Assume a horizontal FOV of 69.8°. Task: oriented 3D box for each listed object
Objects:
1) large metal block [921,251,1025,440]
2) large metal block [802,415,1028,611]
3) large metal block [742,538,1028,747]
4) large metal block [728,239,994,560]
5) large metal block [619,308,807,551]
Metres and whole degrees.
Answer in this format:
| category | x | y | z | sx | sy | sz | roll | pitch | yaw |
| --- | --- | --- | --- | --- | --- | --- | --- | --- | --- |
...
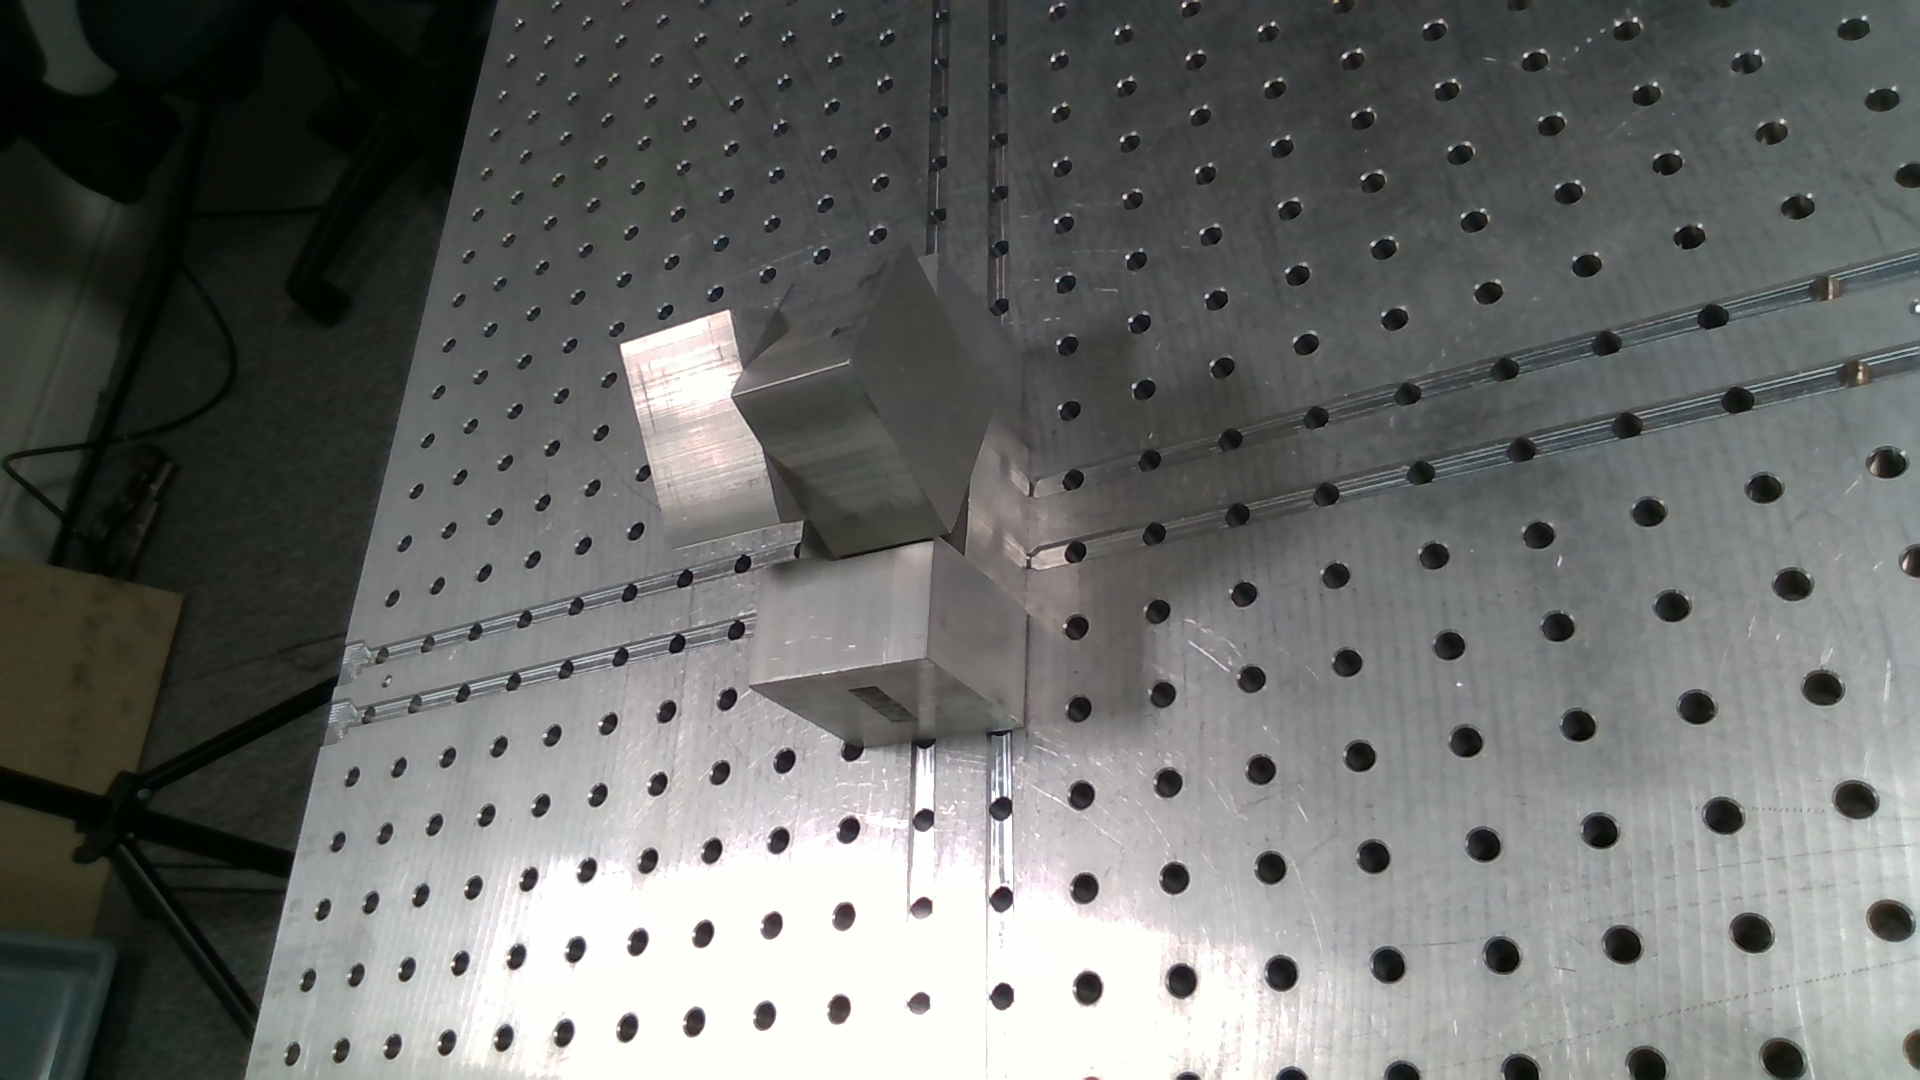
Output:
| category | x | y | z | sx | sy | sz | roll | pitch | yaw |
| --- | --- | --- | --- | --- | --- | --- | --- | --- | --- |
| large metal block | -0.025 | -0.073 | 0.607 | 0.080 | 0.080 | 0.050 | -13 | 59 | 26 |
| large metal block | -0.019 | -0.009 | 0.586 | 0.080 | 0.050 | 0.080 | -12 | 60 | 26 |
| large metal block | -0.027 | 0.043 | 0.546 | 0.080 | 0.080 | 0.050 | -11 | 60 | 27 |
| large metal block | -0.034 | -0.053 | 0.519 | 0.050 | 0.080 | 0.080 | -11 | 37 | 26 |
| large metal block | -0.079 | -0.045 | 0.539 | 0.050 | 0.080 | 0.080 | -11 | 93 | 26 |
